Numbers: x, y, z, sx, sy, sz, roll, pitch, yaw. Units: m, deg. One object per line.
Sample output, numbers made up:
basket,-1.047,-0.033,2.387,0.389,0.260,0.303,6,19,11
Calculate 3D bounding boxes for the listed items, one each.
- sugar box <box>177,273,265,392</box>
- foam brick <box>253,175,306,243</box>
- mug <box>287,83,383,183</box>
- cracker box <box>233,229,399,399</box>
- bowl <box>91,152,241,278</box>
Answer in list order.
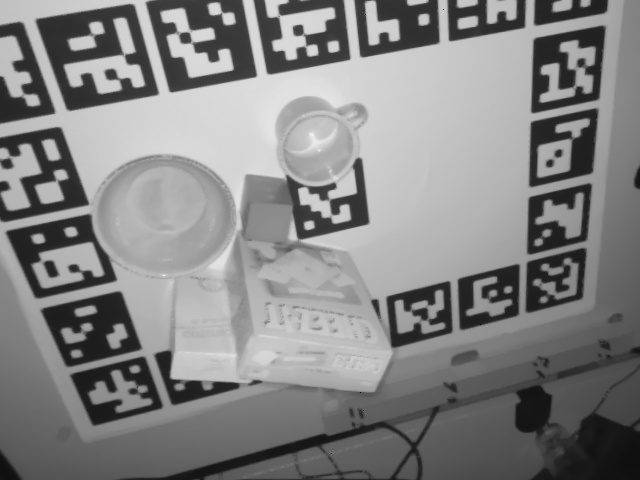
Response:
sugar box,-0.119,0.104,0.823,0.094,0.177,0.045,8,117,-17
foam brick,-0.050,-0.038,0.825,0.053,0.078,0.051,2,119,-14
mug,0.021,-0.128,0.780,0.117,0.081,0.093,-20,129,-4
cracker box,-0.010,0.080,0.816,0.166,0.214,0.071,16,117,-19
bowl,-0.173,-0.039,0.791,0.163,0.055,0.160,-6,118,-10
